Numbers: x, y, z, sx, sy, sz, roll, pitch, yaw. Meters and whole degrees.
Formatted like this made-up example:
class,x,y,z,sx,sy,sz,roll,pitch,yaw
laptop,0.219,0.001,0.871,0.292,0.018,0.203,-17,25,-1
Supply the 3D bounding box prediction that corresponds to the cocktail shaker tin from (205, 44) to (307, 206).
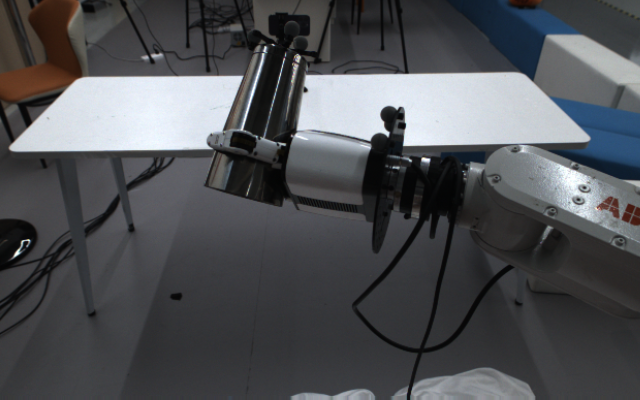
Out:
class,x,y,z,sx,sy,sz,roll,pitch,yaw
cocktail shaker tin,-0.066,-0.085,0.559,0.093,0.170,0.093,15,-4,1
